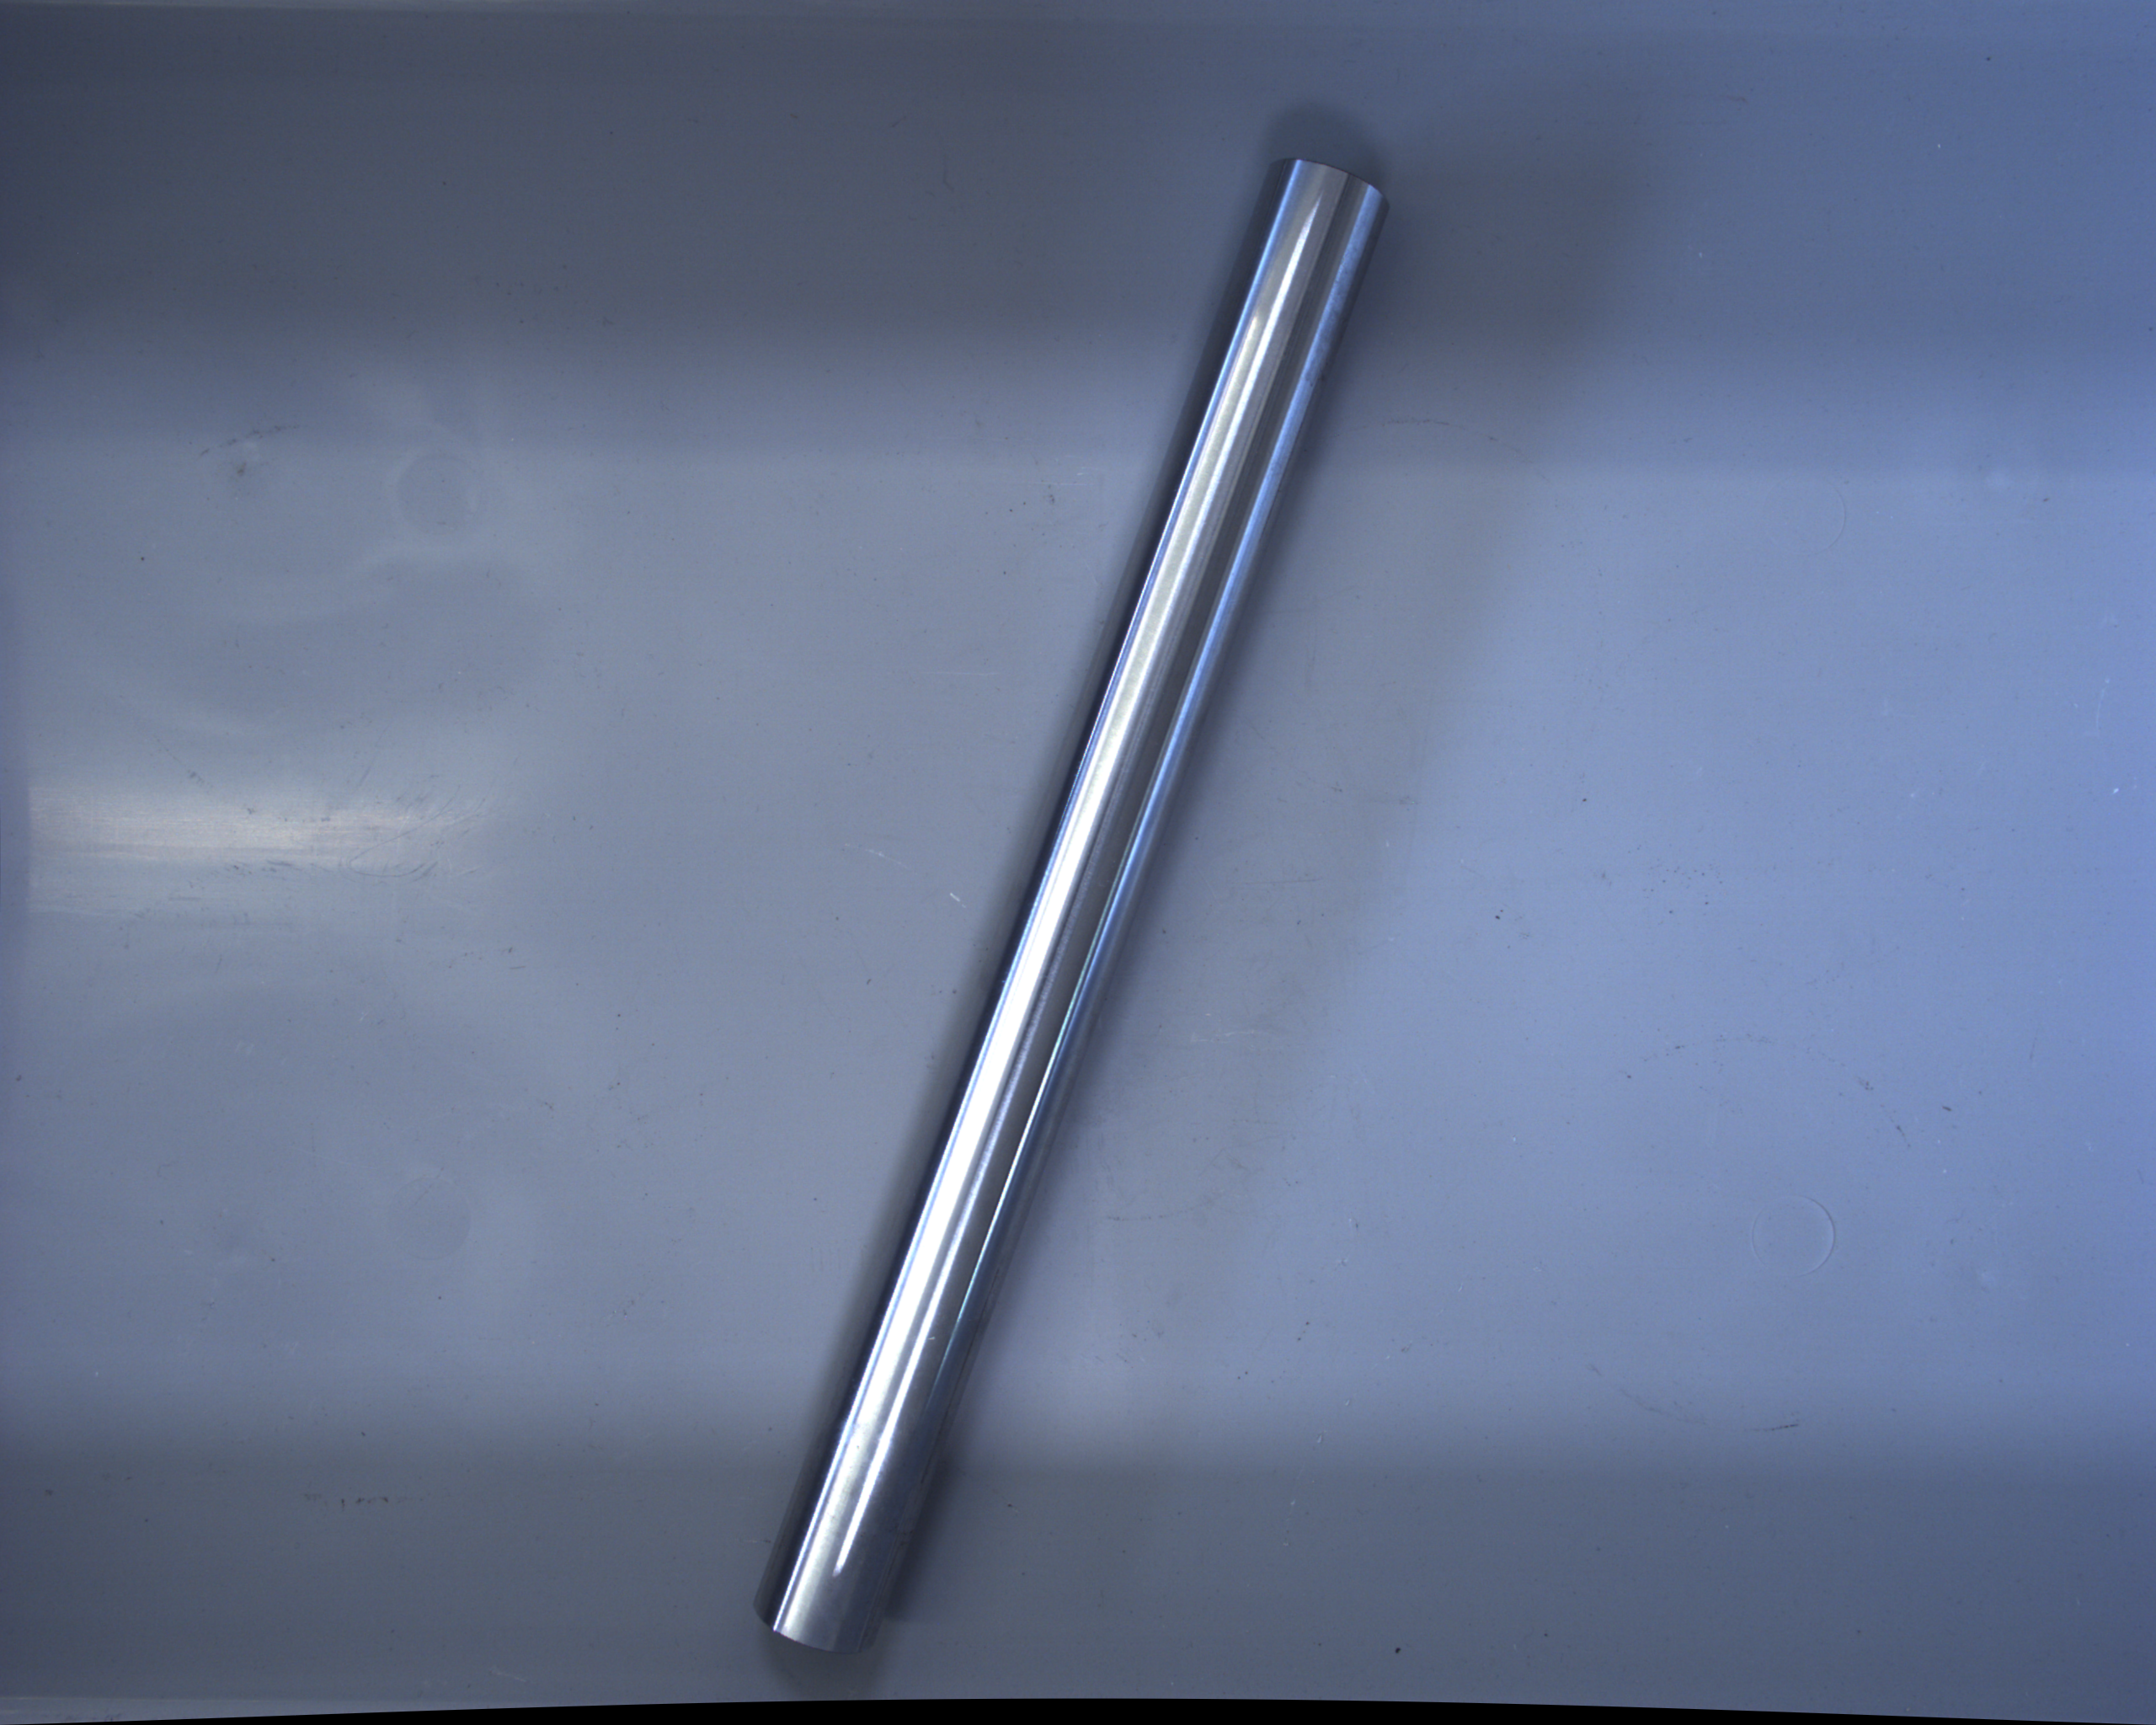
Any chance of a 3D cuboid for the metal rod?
[{"bbox_3d":[-0.002,0.008,0.409,0.025,0.025,0.299,20,90,0],"label":"metal rod"}]
